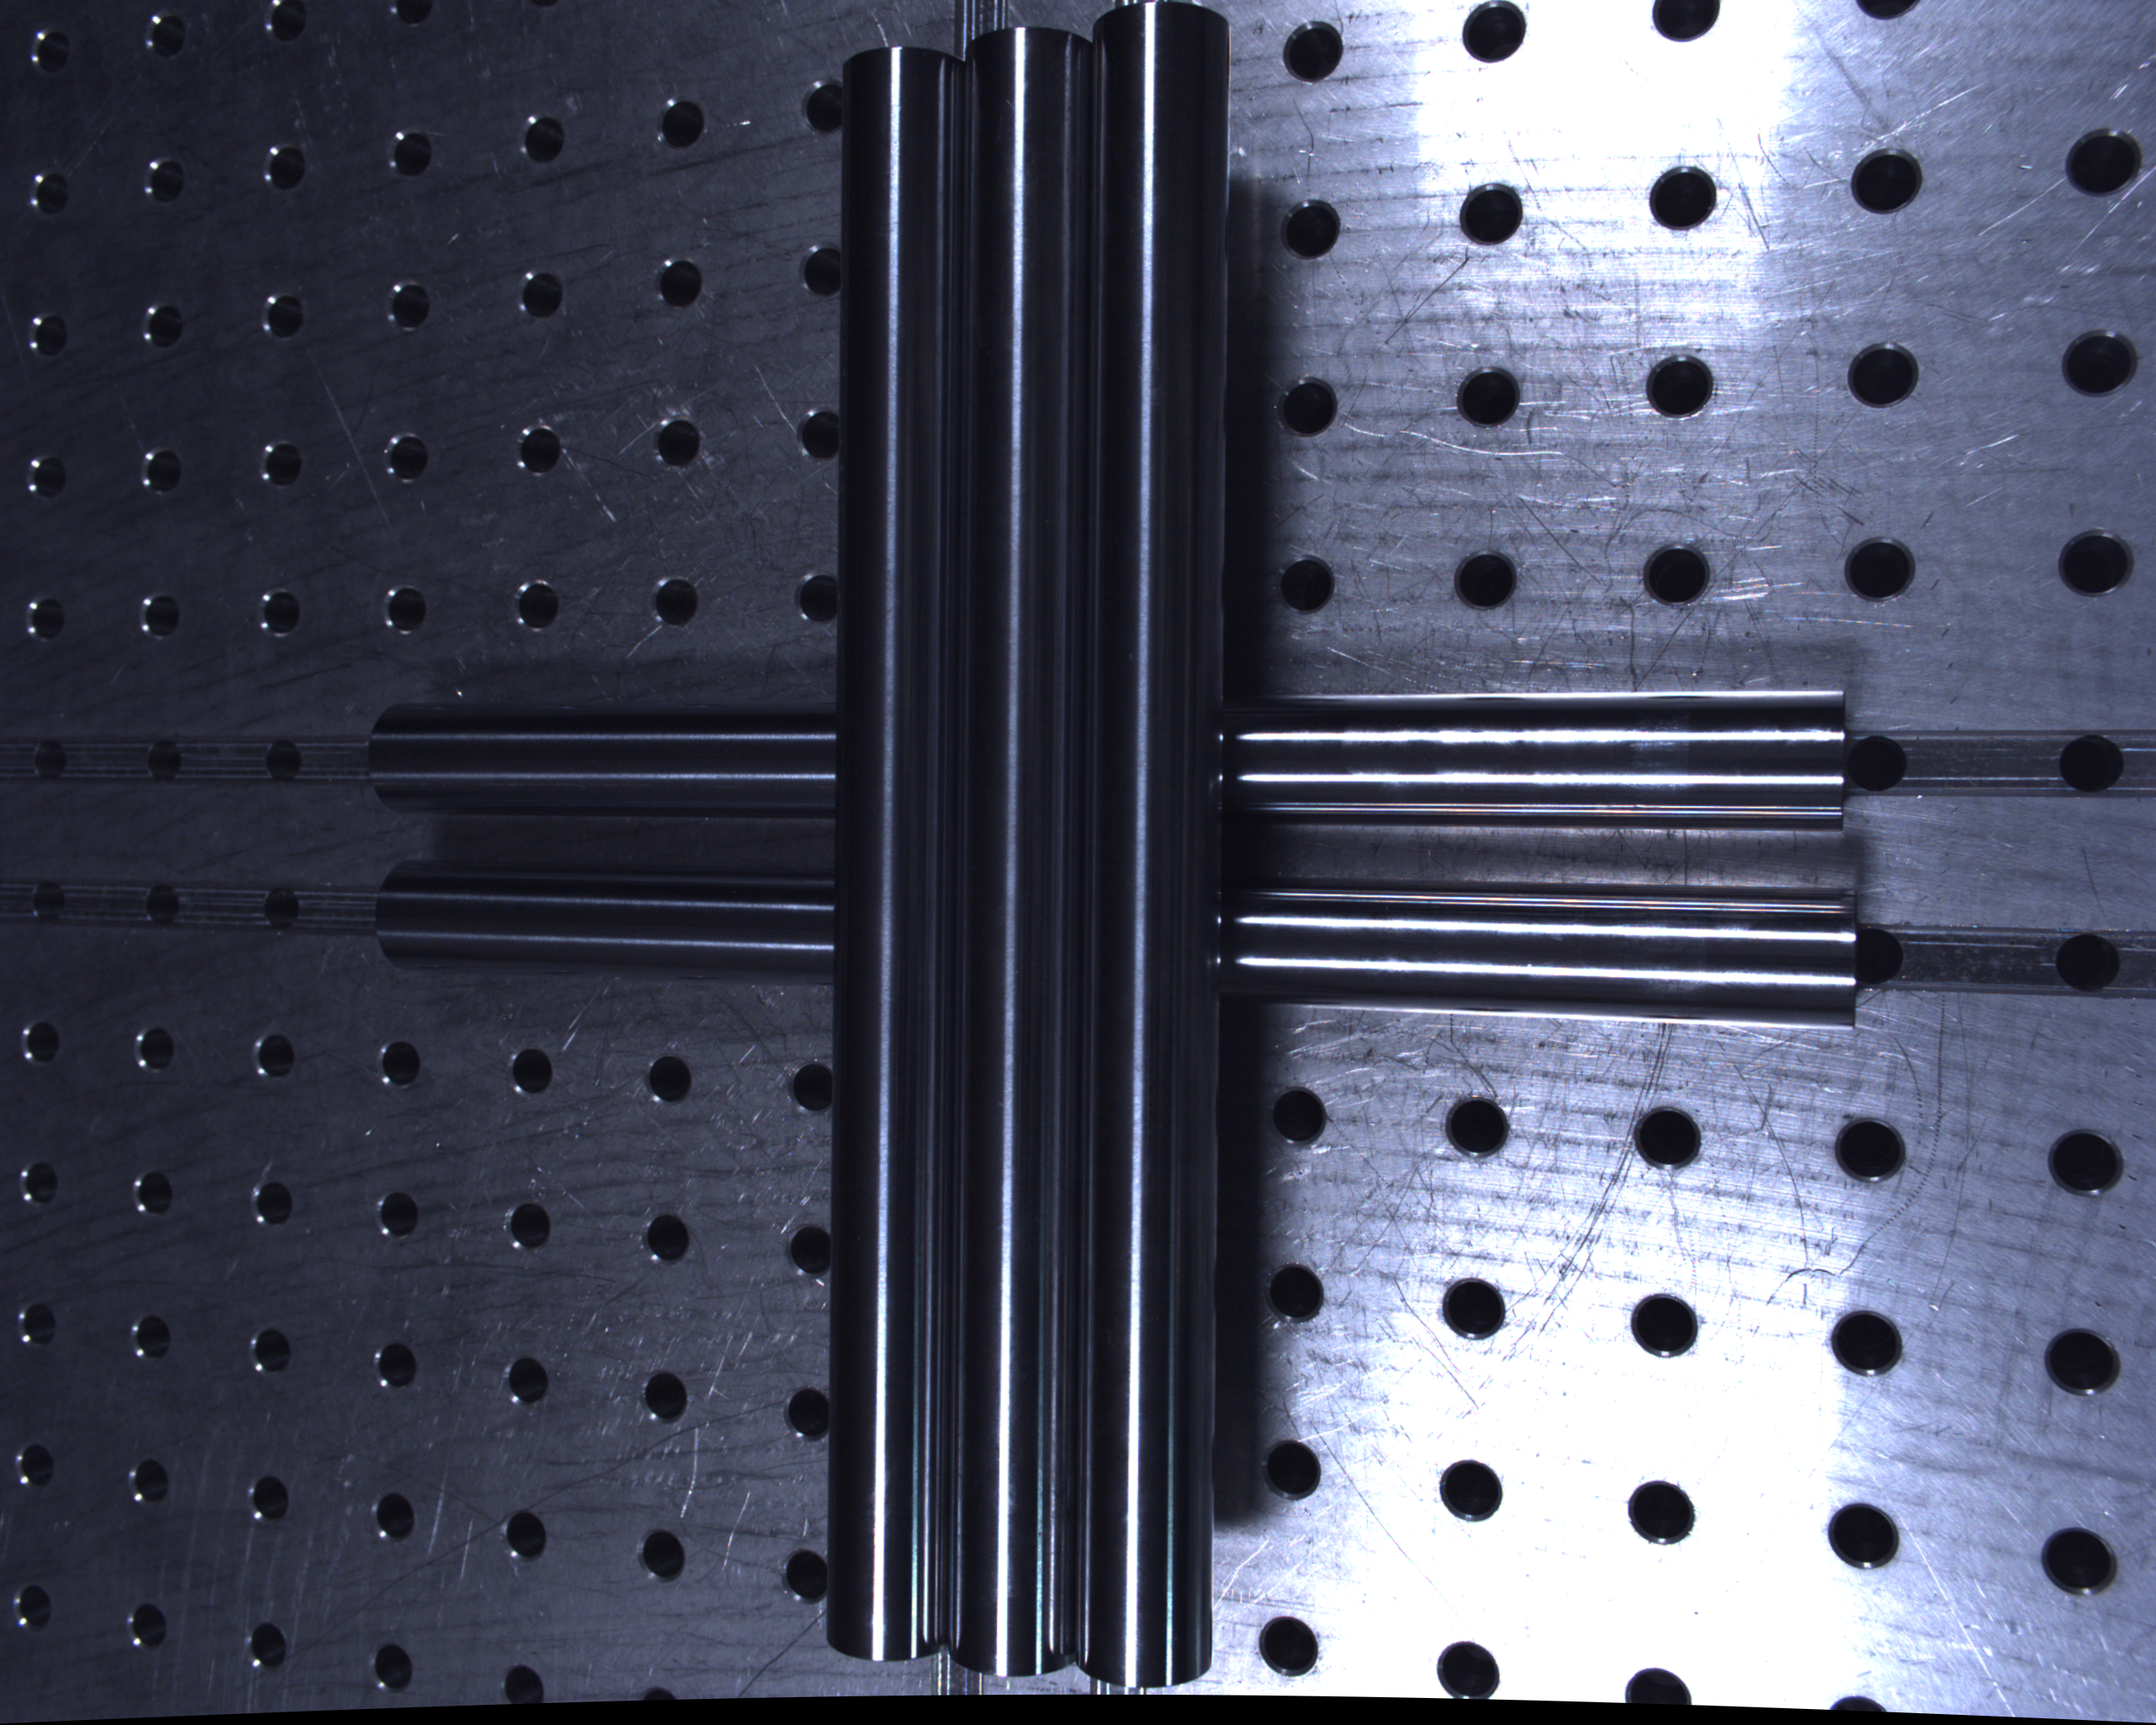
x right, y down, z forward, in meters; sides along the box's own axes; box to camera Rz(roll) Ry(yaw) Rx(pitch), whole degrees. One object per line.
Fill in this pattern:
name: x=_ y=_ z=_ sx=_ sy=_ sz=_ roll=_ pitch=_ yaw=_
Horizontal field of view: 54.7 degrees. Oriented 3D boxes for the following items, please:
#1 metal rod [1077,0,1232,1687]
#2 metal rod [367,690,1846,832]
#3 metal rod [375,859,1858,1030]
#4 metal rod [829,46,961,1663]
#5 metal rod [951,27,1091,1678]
metal rod: x=0.014 y=-0.003 z=0.381 sx=0.025 sy=0.025 sz=0.298 roll=1 pitch=90 yaw=19
metal rod: x=-0.008 y=-0.021 z=0.415 sx=0.301 sy=0.025 sz=0.025 roll=1 pitch=91 yaw=19
metal rod: x=-0.006 y=0.014 z=0.414 sx=0.301 sy=0.025 sz=0.025 roll=1 pitch=91 yaw=19
metal rod: x=-0.033 y=-0.001 z=0.397 sx=0.025 sy=0.025 sz=0.298 roll=1 pitch=90 yaw=19
metal rod: x=-0.010 y=-0.002 z=0.389 sx=0.025 sy=0.025 sz=0.298 roll=1 pitch=90 yaw=19
